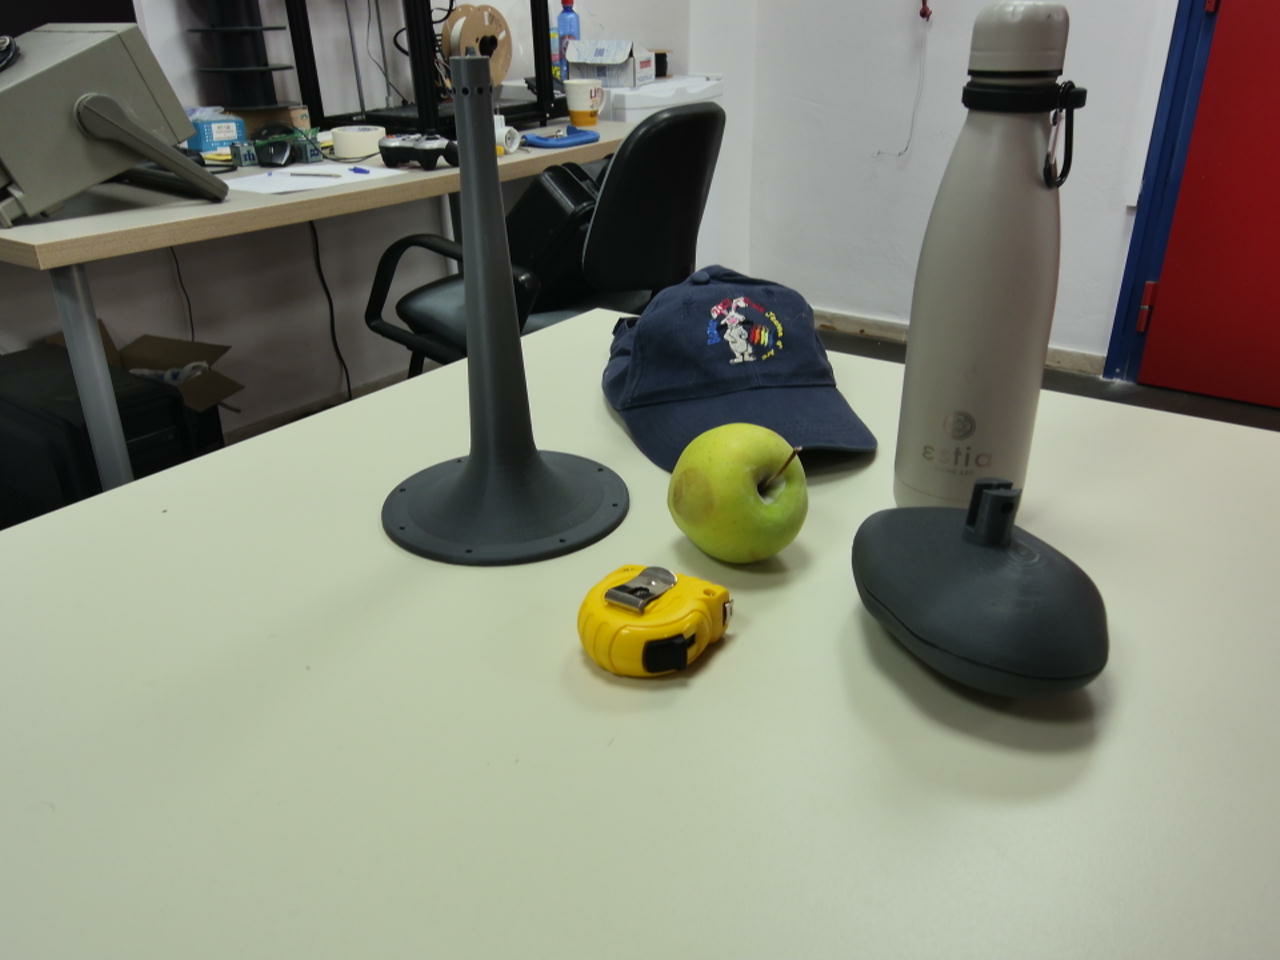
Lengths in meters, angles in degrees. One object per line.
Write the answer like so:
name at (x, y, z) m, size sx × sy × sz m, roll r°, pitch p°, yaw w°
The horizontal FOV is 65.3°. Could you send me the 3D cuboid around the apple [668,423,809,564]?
apple at (0.053, 0.006, 0.539) m, size 0.072 × 0.075 × 0.077 m, roll -3°, pitch 24°, yaw -8°
